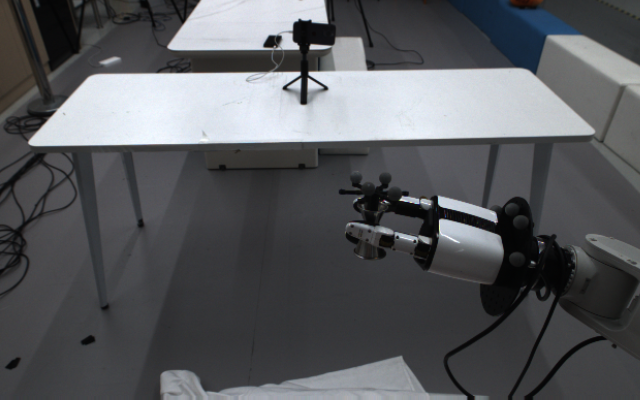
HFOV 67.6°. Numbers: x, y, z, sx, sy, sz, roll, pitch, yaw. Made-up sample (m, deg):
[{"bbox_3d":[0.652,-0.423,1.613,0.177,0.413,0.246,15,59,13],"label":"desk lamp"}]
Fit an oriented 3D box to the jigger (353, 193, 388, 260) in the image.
[{"bbox_3d":[0.067,0.037,0.641,0.043,0.071,0.043,1,20,0],"label":"jigger"}]
